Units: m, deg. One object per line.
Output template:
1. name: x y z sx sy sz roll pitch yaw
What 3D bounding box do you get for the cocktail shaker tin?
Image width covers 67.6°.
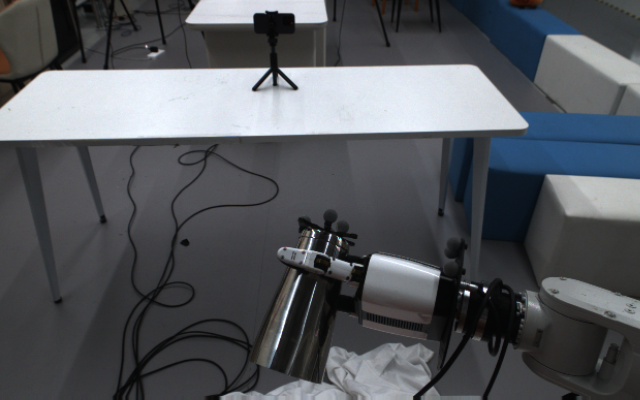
1. cocktail shaker tin: -0.017 0.124 0.599 0.093 0.093 0.170 13 71 15
